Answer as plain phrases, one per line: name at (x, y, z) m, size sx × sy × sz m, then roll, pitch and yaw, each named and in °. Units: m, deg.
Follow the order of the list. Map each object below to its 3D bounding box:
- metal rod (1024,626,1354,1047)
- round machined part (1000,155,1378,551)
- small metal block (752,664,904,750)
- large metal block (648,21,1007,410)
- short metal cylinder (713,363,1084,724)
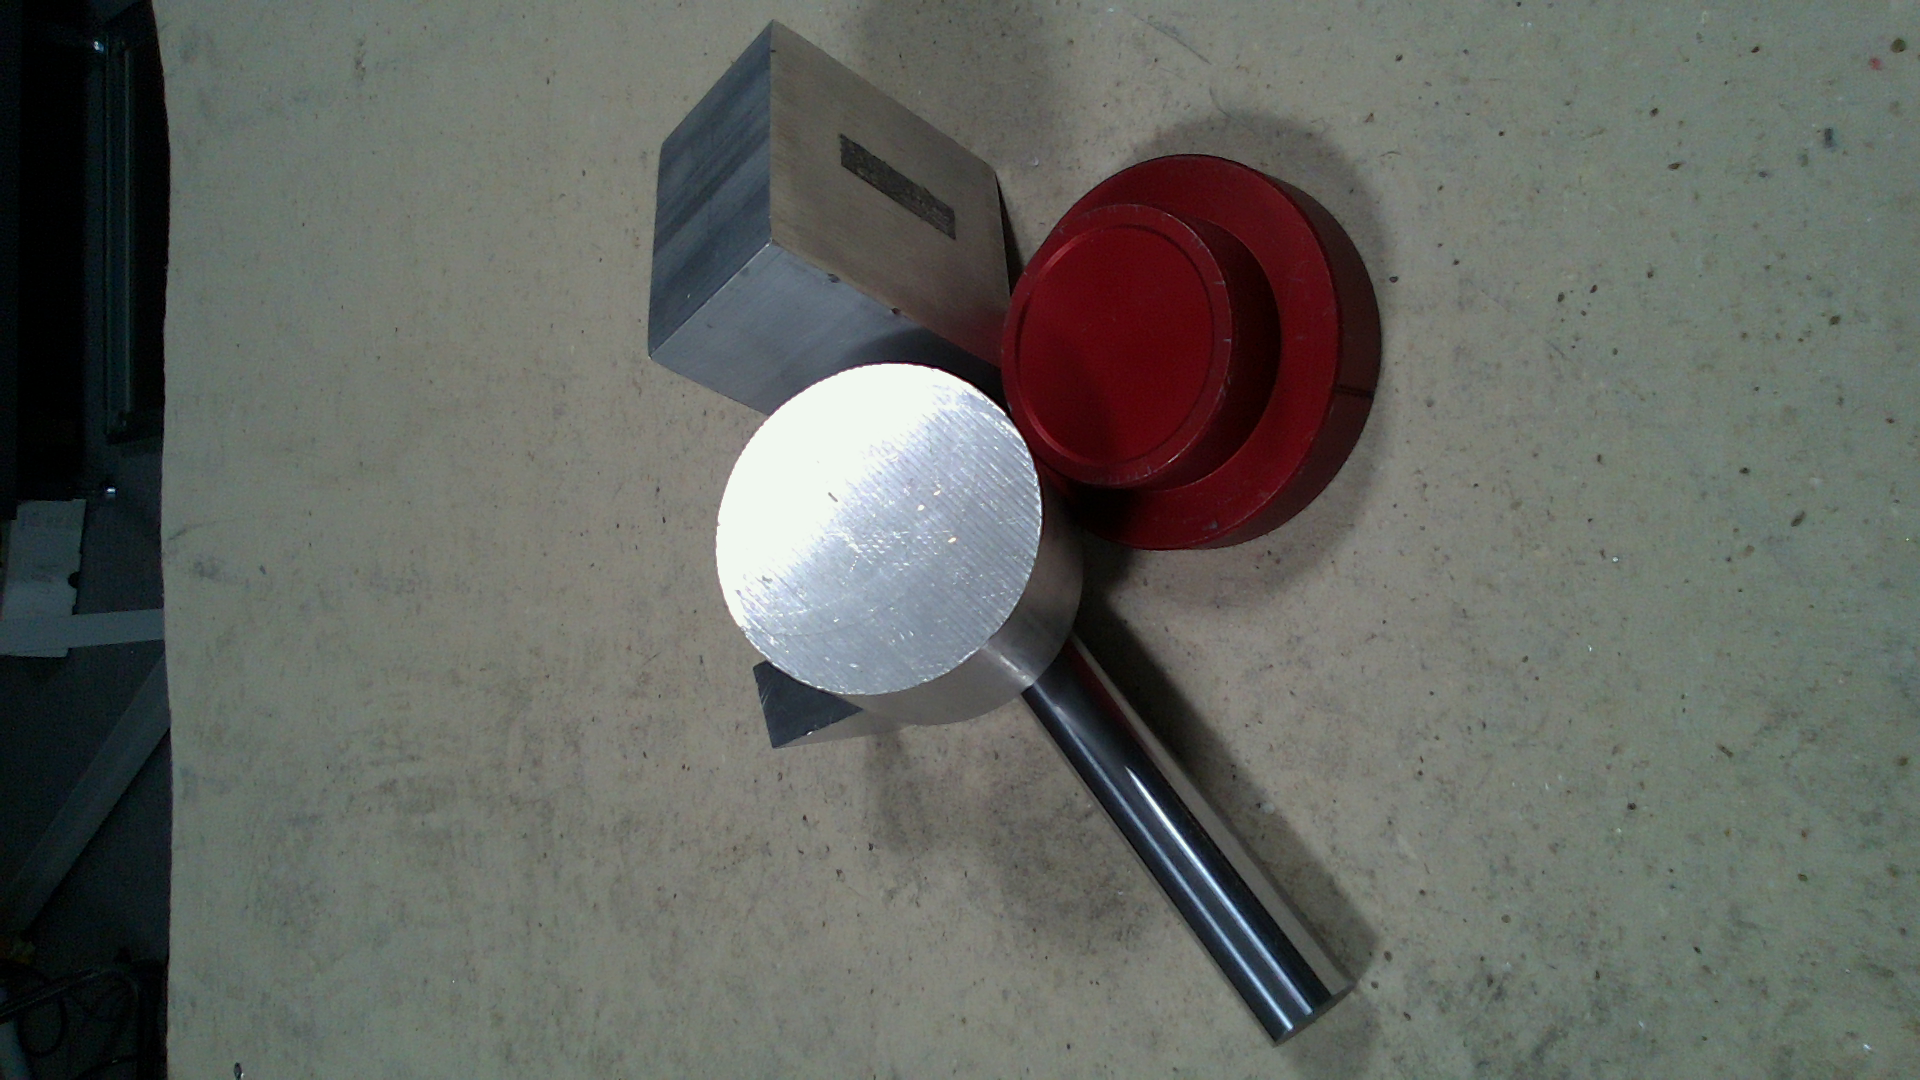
metal rod at (0.003, 0.006, 0.393) m, size 0.025 × 0.025 × 0.299 m, roll -52°, pitch 59°, yaw 27°
round machined part at (0.049, -0.046, 0.342) m, size 0.098 × 0.042 × 0.098 m, roll 0°, pitch 90°, yaw 40°
small metal block at (-0.023, 0.039, 0.399) m, size 0.050 × 0.050 × 0.025 m, roll -27°, pitch 72°, yaw 36°
large metal block at (-0.034, -0.077, 0.373) m, size 0.050 × 0.080 × 0.080 m, roll -34°, pitch 47°, yaw 37°
short metal cylinder at (-0.014, 0.003, 0.341) m, size 0.080 × 0.050 × 0.080 m, roll -5°, pitch 73°, yaw 15°
